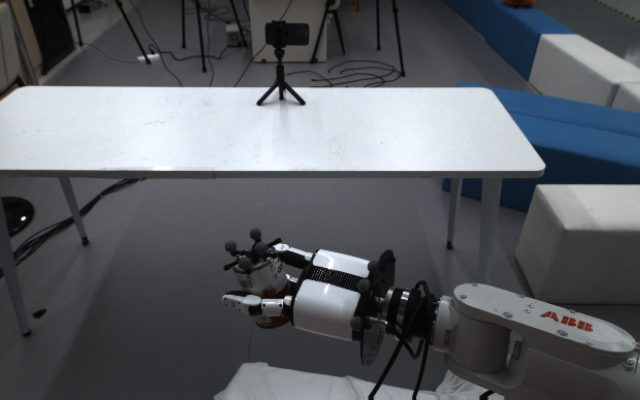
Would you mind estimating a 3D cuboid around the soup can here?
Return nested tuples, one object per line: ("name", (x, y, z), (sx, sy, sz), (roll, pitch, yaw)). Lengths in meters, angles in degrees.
("soup can", (-0.076, 0.126, 0.697), (0.067, 0.101, 0.067), (-16, 23, 7))
